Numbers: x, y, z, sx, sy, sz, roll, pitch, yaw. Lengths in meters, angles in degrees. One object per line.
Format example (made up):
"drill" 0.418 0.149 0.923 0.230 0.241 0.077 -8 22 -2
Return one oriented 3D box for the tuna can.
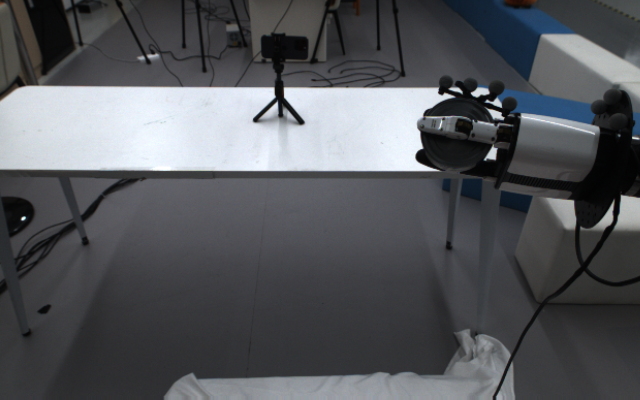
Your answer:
"tuna can" 0.167 -0.081 0.587 0.085 0.085 0.034 14 -7 16
